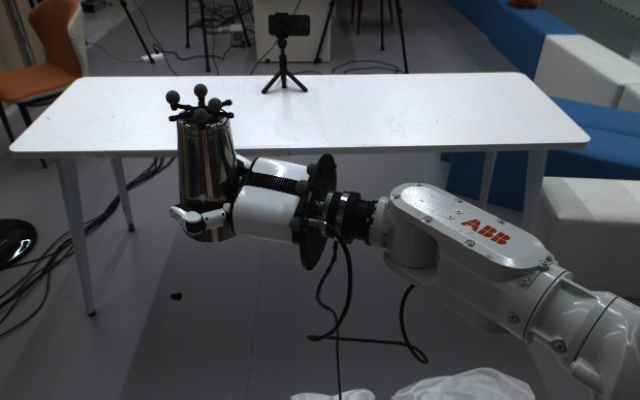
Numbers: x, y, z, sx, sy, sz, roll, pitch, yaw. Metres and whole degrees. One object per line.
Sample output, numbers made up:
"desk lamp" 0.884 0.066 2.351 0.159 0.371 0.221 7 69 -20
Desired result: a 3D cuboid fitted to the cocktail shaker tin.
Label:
"cocktail shaker tin" -0.152 -0.037 0.663 0.093 0.170 0.093 2 35 -1
